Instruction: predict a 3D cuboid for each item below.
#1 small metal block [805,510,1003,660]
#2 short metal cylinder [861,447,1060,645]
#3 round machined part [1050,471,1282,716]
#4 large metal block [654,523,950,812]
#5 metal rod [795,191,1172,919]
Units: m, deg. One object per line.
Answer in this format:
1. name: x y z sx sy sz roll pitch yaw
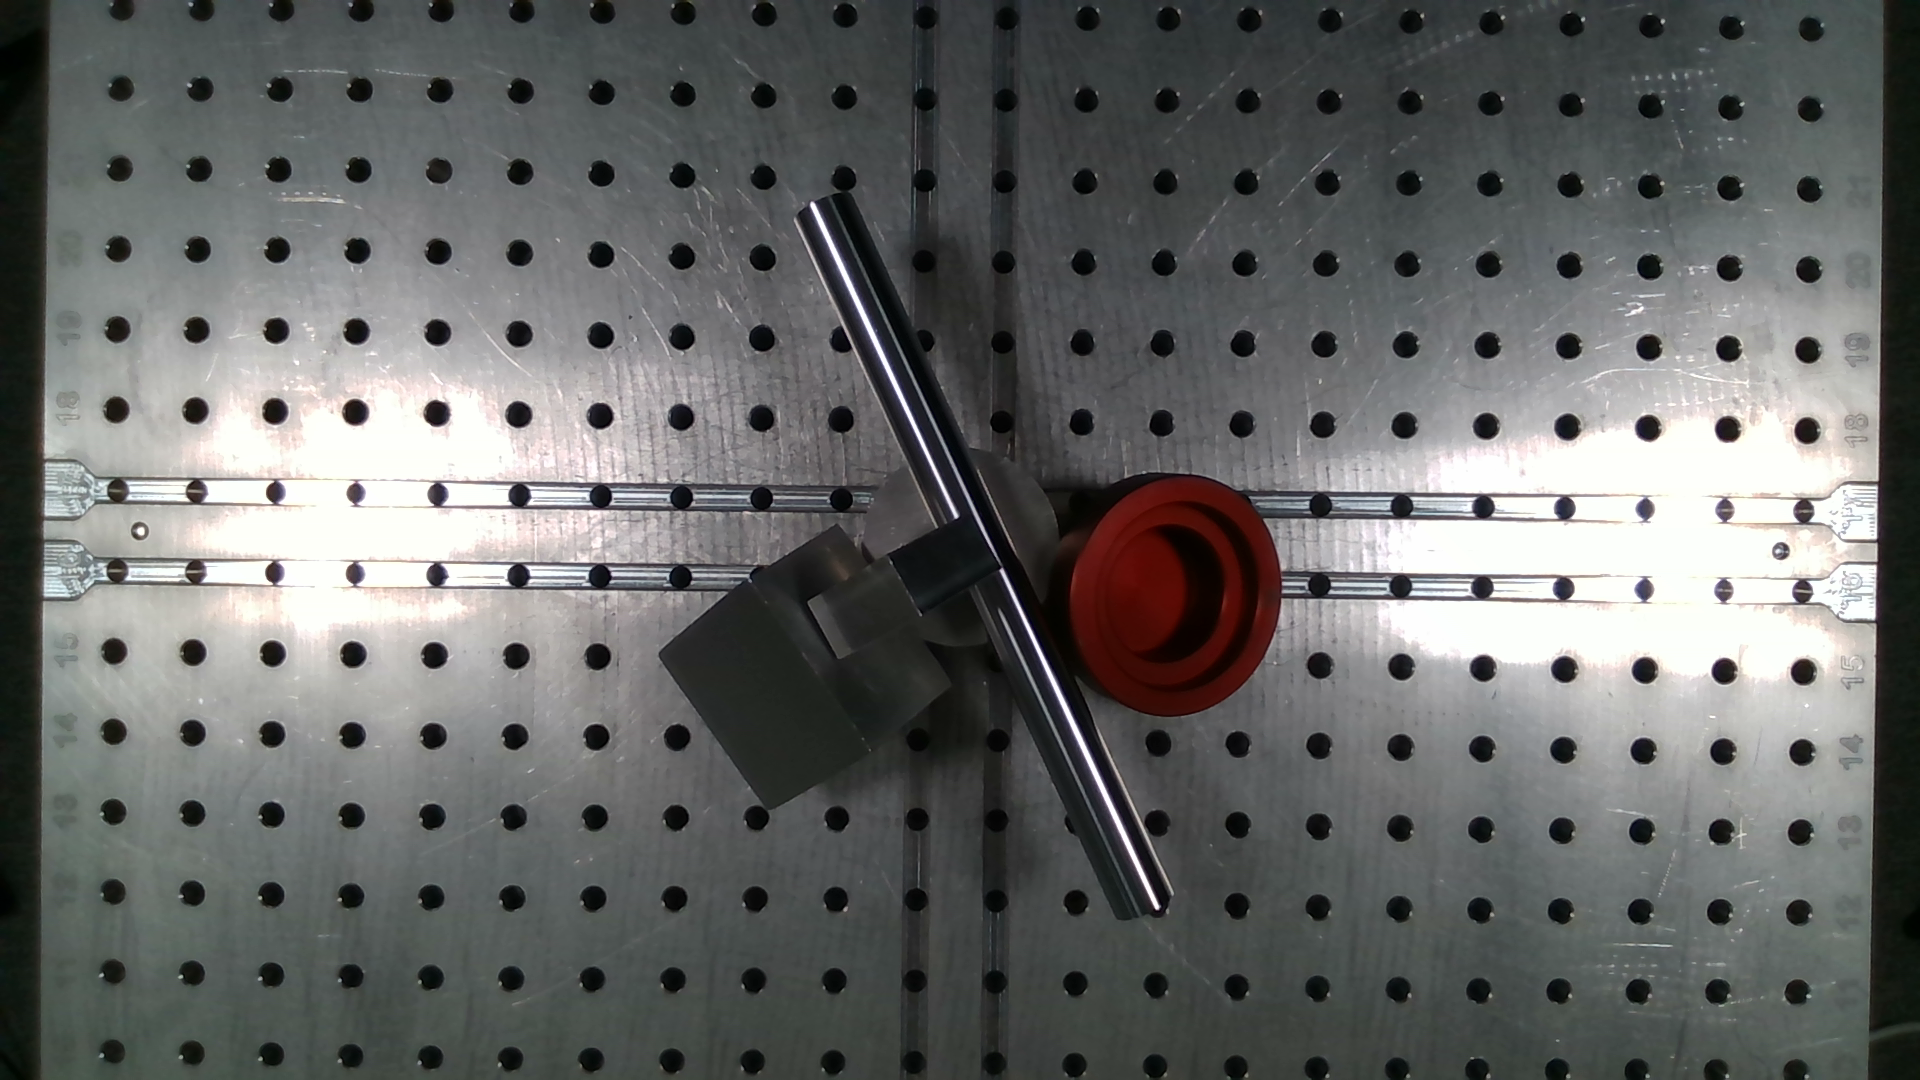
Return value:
1. small metal block: -0.021 0.017 0.516 0.050 0.050 0.025 -29 90 42
2. short metal cylinder: 0.000 0.002 0.576 0.080 0.050 0.080 0 90 0
3. round machined part: 0.080 0.021 0.569 0.098 0.042 0.098 -3 97 -22
4. large metal block: -0.065 0.053 0.554 0.080 0.050 0.080 -35 90 45
5. metal rod: 0.009 0.006 0.539 0.025 0.025 0.300 -25 91 0
